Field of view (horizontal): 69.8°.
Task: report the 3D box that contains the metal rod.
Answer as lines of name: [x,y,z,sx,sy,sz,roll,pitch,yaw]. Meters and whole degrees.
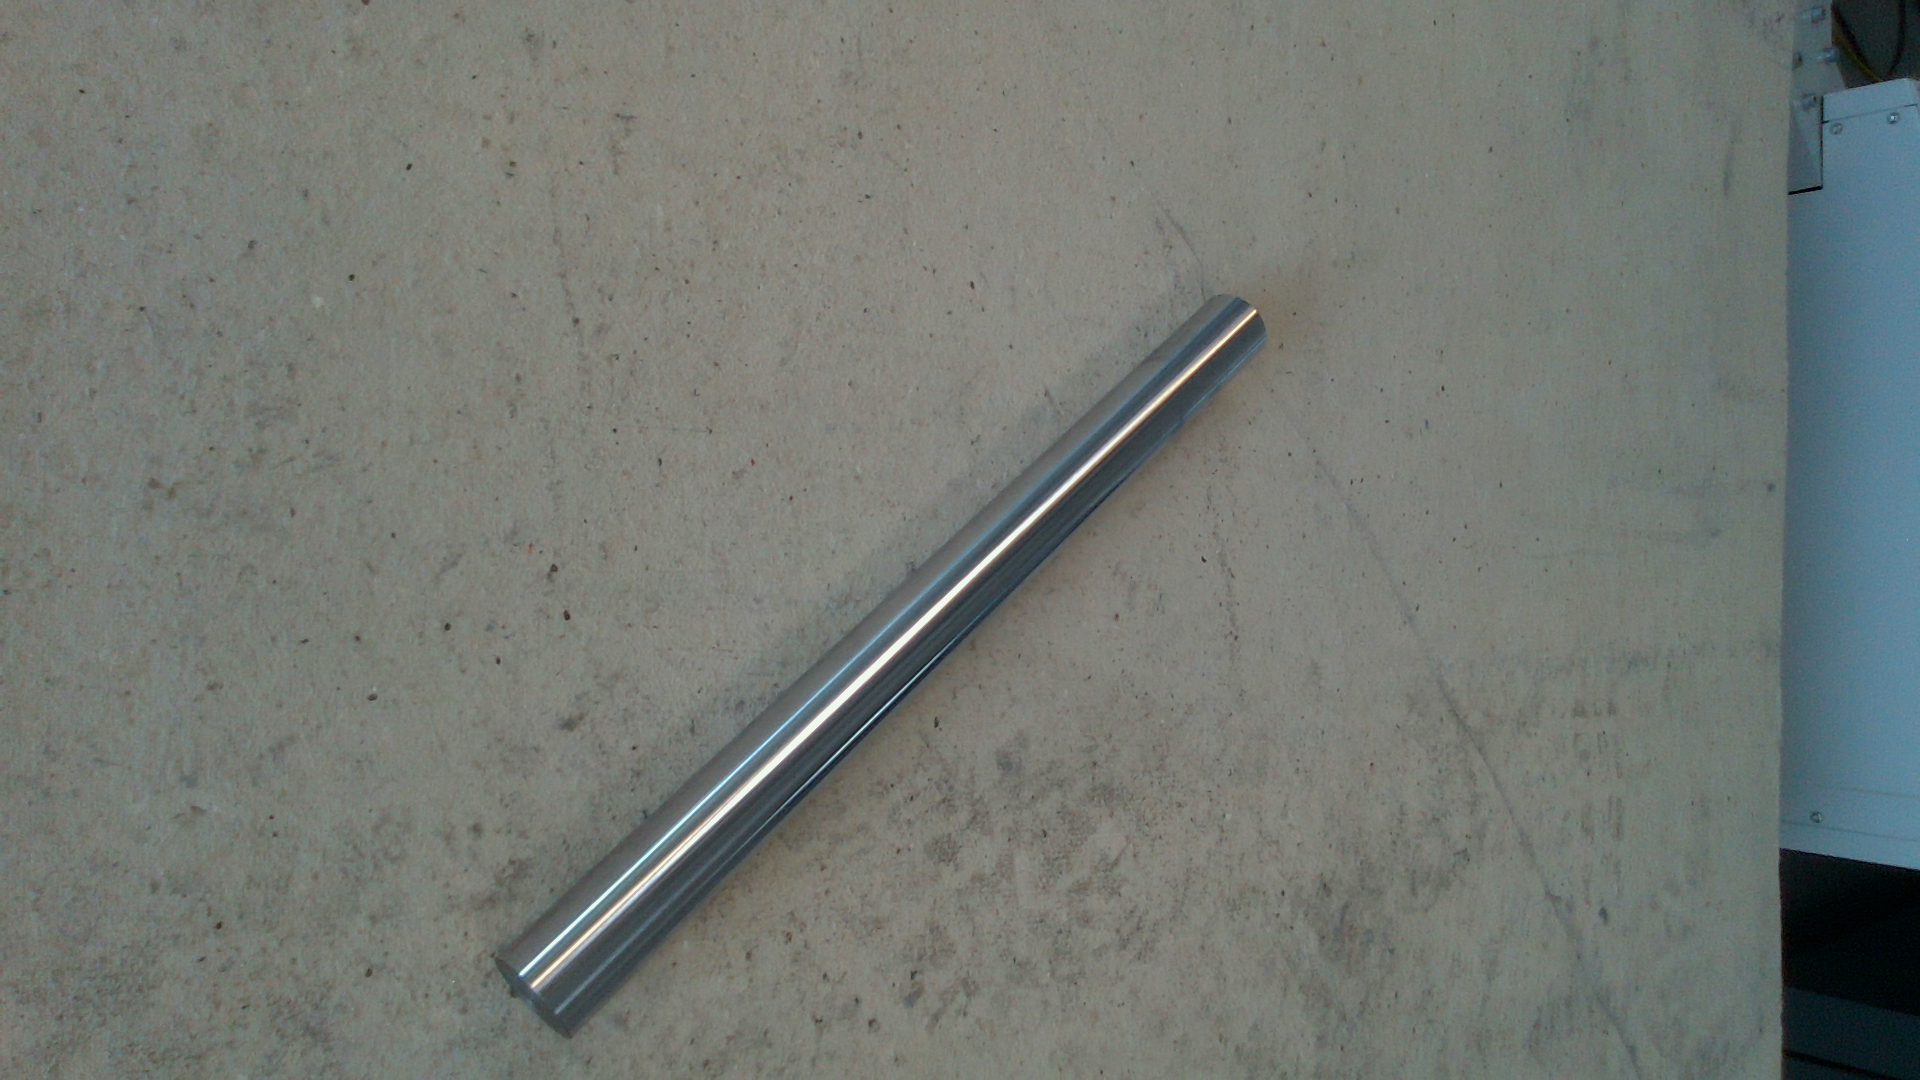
metal rod: [-0.003,0.015,0.387,0.301,0.025,0.025,-43,116,-31]
